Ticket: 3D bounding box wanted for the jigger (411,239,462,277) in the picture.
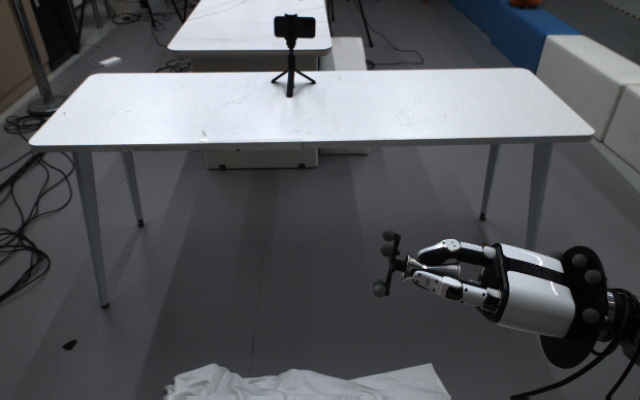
[{"bbox_3d":[0.152,0.092,0.637,0.071,0.043,0.043,12,36,5],"label":"jigger"}]
